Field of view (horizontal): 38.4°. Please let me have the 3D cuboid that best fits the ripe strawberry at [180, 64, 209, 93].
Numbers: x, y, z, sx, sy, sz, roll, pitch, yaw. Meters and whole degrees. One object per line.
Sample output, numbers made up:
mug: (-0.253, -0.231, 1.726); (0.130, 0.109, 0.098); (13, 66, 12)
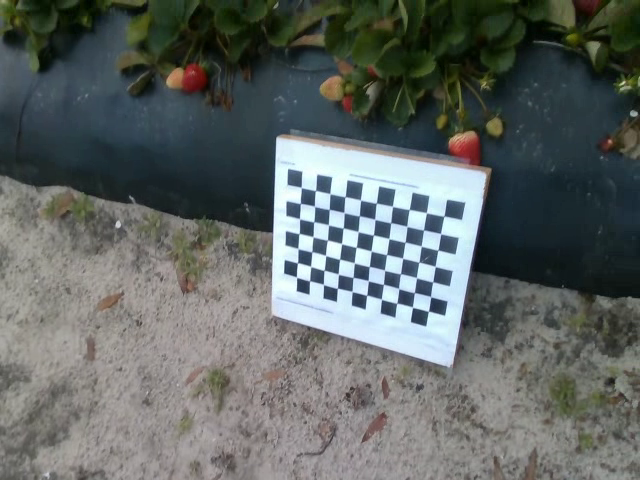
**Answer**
ripe strawberry: (-0.179, -0.215, 1.224); (0.041, 0.034, 0.033); (-42, -15, -24)
